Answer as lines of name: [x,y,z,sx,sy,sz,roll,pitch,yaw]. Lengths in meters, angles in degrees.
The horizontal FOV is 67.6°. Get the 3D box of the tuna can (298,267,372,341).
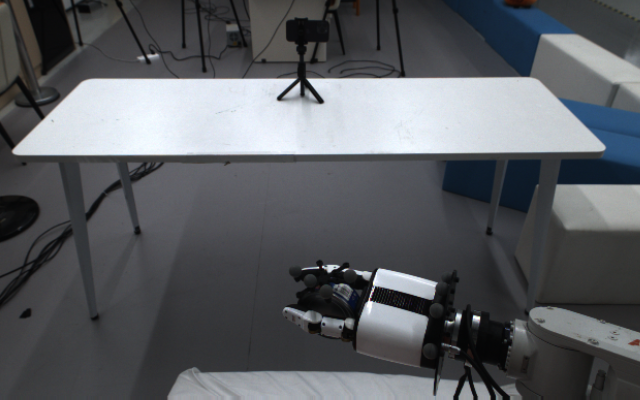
tuna can: [0.017,0.152,0.659,0.085,0.085,0.034,15,34,17]
